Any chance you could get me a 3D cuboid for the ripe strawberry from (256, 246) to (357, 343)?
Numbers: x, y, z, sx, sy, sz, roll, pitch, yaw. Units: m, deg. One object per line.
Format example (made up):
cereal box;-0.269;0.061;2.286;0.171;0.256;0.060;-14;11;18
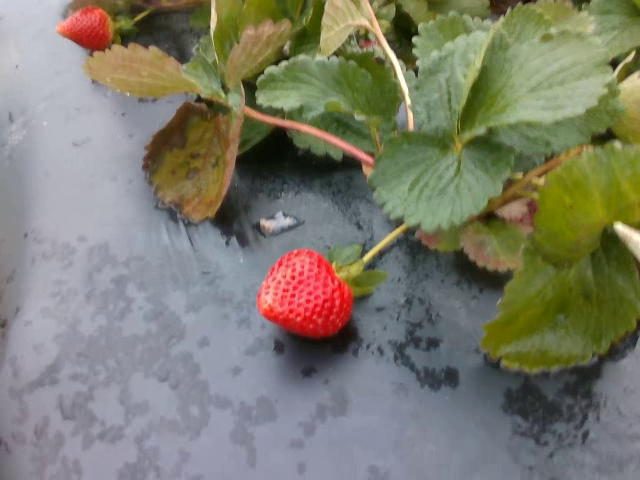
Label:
ripe strawberry;-0.008;0.026;0.283;0.054;0.048;0.045;-15;18;-43
